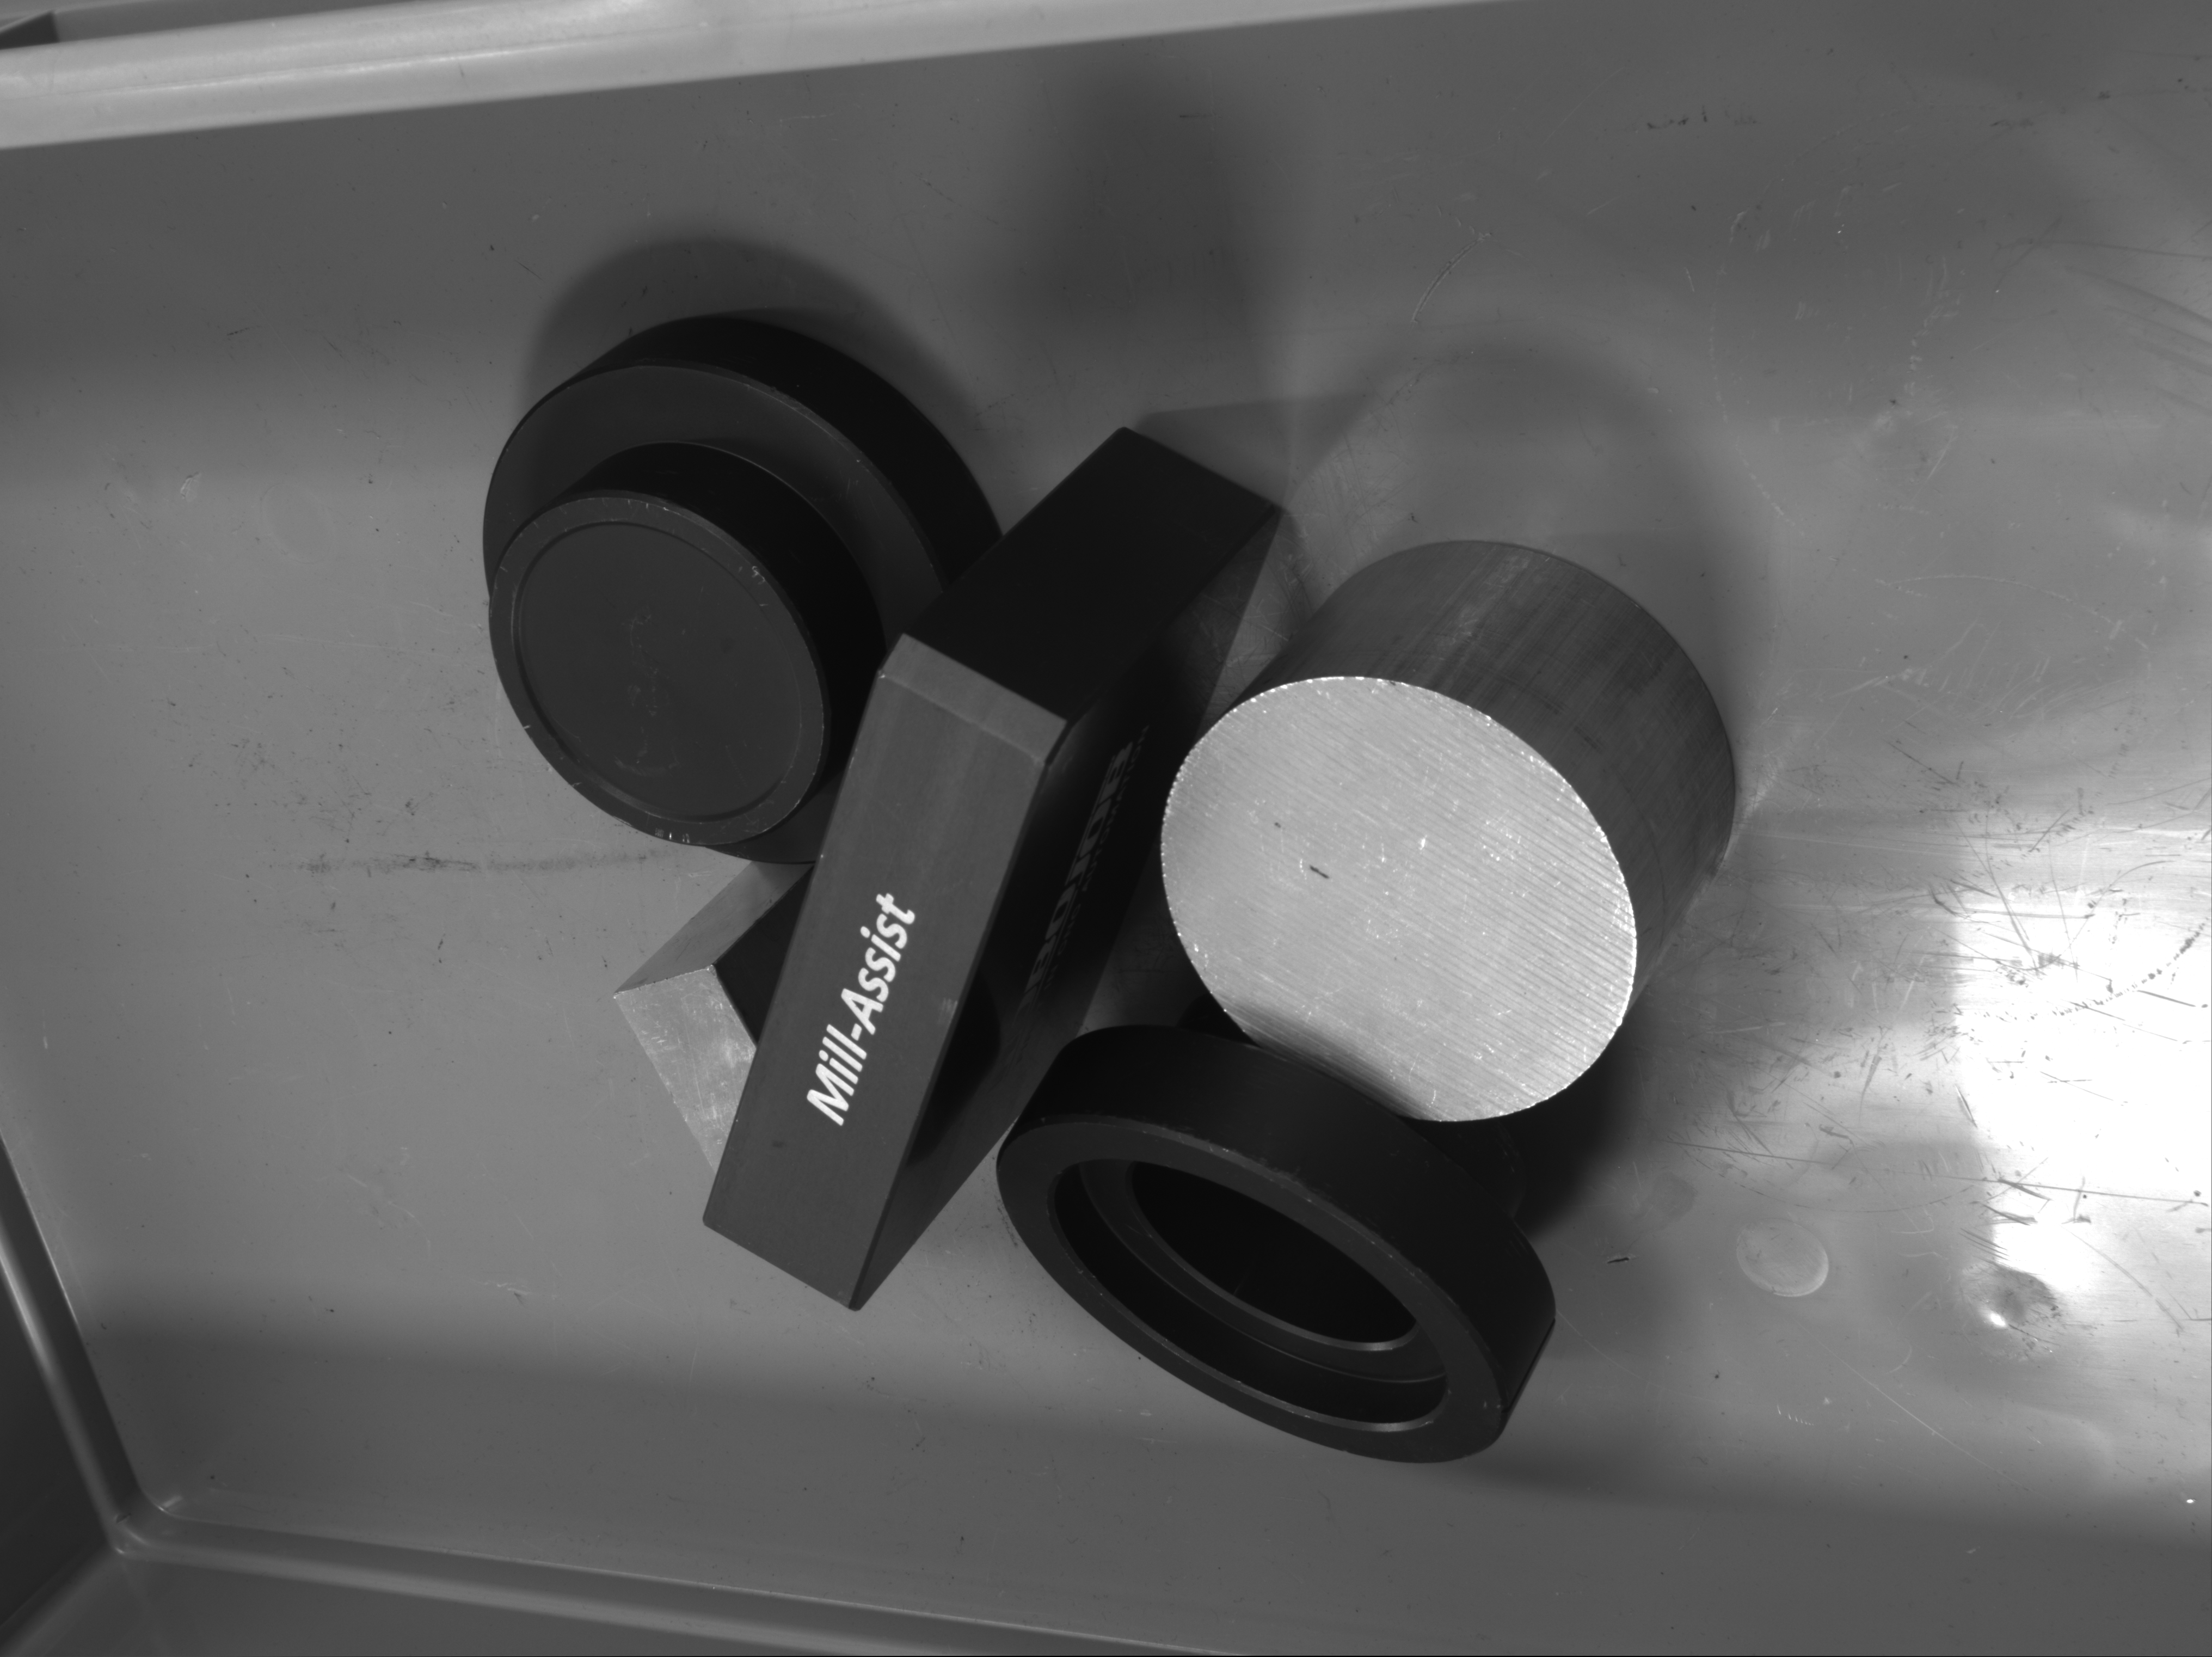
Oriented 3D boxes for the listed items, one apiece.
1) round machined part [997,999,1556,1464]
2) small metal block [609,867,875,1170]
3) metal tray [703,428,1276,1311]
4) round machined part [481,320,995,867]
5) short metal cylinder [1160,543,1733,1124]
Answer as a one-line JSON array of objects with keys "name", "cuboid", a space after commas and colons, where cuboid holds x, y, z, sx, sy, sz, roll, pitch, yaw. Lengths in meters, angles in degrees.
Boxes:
[{"name": "round machined part", "cuboid": [0.033, 0.065, 0.637, 0.098, 0.042, 0.098, 24, 151, 15]}, {"name": "small metal block", "cuboid": [-0.058, 0.037, 0.678, 0.025, 0.050, 0.050, -16, 110, 35]}, {"name": "metal tray", "cuboid": [-0.020, 0.008, 0.614, 0.030, 0.090, 0.130, 29, 128, 10]}, {"name": "round machined part", "cuboid": [-0.069, -0.036, 0.644, 0.098, 0.042, 0.098, 13, 124, 21]}, {"name": "short metal cylinder", "cuboid": [0.056, 0.001, 0.595, 0.080, 0.050, 0.080, 13, 124, 21]}]
